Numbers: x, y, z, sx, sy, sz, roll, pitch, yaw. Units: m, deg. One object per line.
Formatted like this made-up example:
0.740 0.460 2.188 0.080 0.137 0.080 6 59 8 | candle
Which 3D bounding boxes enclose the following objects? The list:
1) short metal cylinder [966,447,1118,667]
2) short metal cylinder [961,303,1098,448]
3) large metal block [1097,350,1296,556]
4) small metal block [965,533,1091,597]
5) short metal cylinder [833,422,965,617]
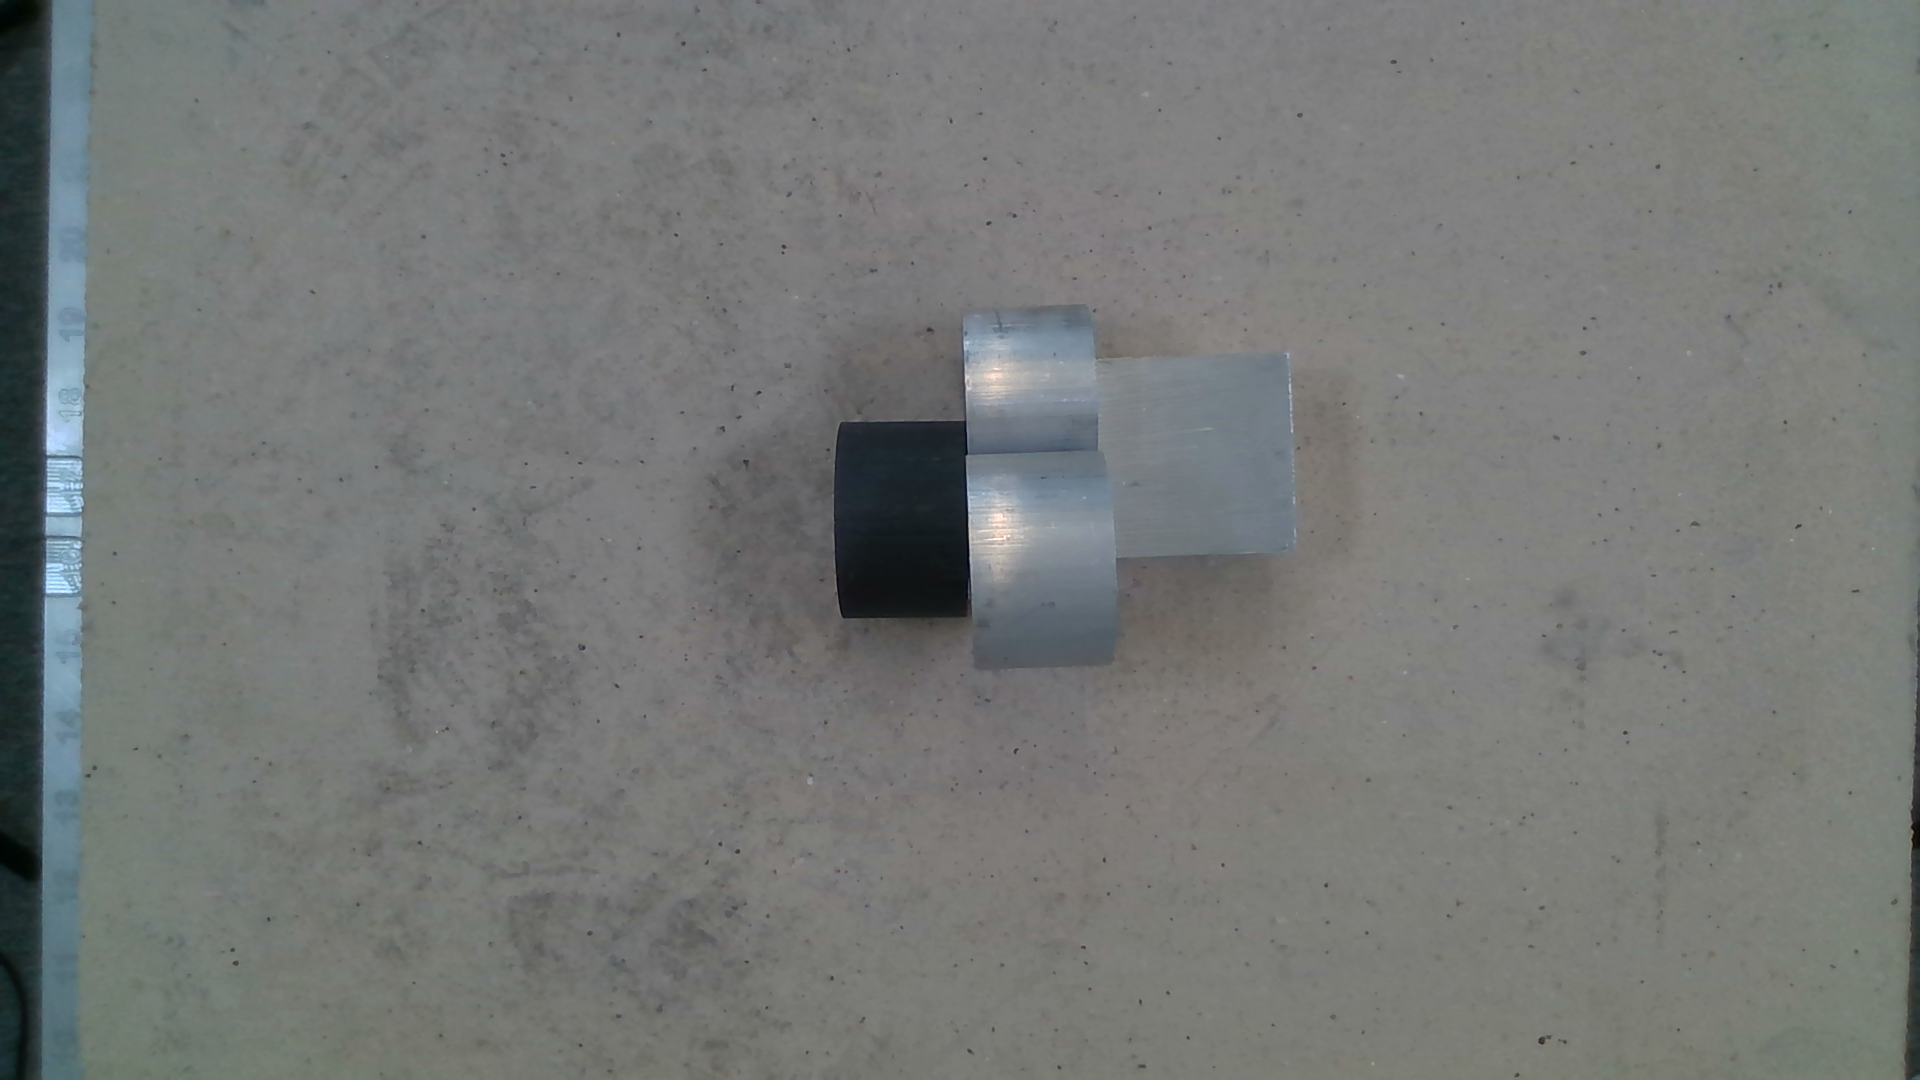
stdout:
0.029 0.007 0.511 0.050 0.080 0.080 -2 90 0 | short metal cylinder
0.027 -0.055 0.560 0.050 0.080 0.080 -2 90 0 | short metal cylinder
0.093 -0.035 0.576 0.080 0.050 0.080 -2 90 0 | large metal block
0.028 0.010 0.577 0.050 0.050 0.025 1 90 0 | small metal block
-0.023 -0.008 0.561 0.050 0.080 0.080 0 90 0 | short metal cylinder
